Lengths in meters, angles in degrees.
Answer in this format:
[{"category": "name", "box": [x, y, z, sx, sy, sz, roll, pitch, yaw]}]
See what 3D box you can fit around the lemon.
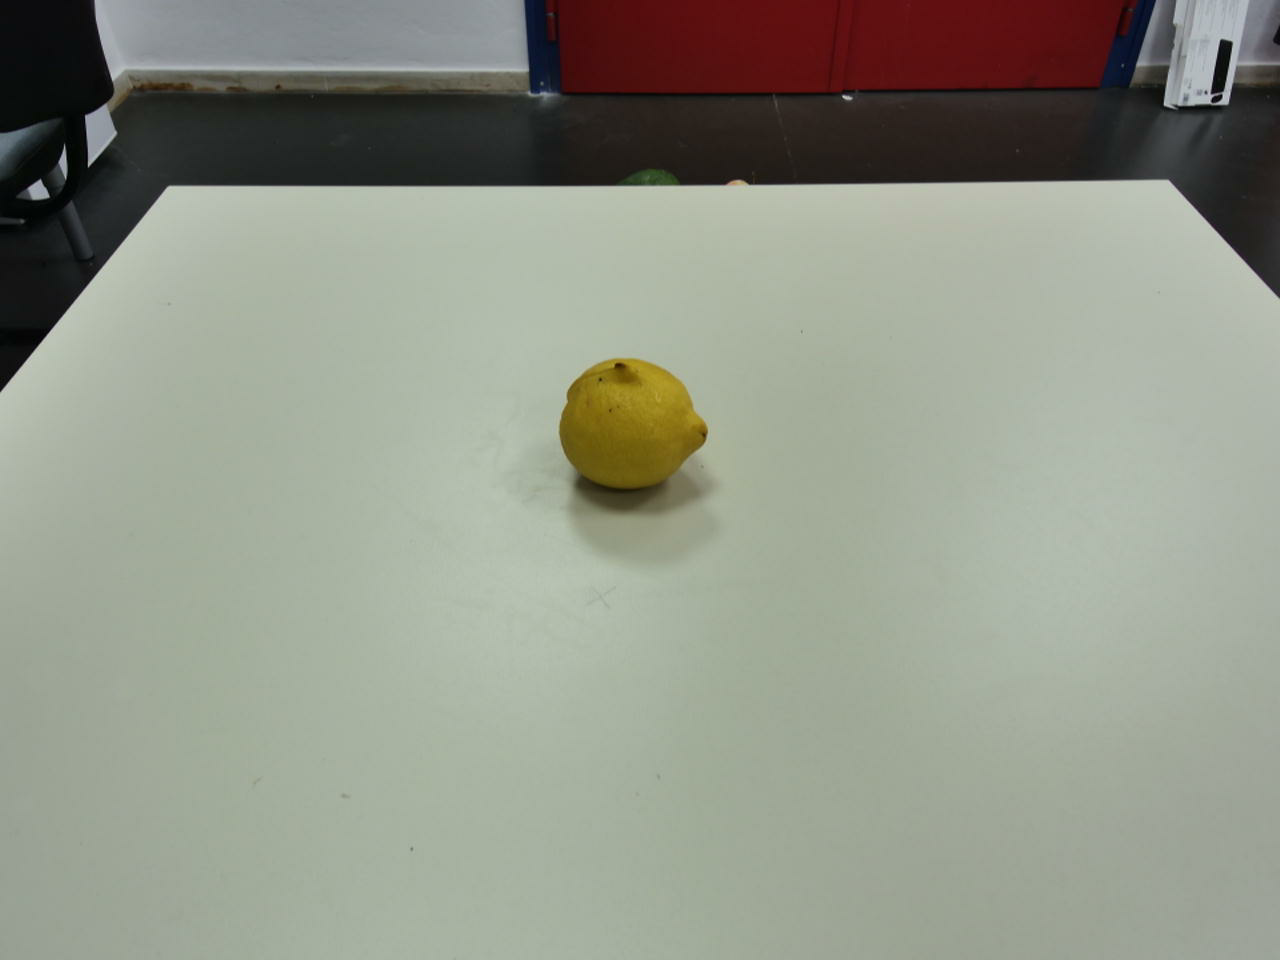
[{"category": "lemon", "box": [-0.007, -0.032, 0.521, 0.070, 0.071, 0.071, -22, 44, -26]}]
